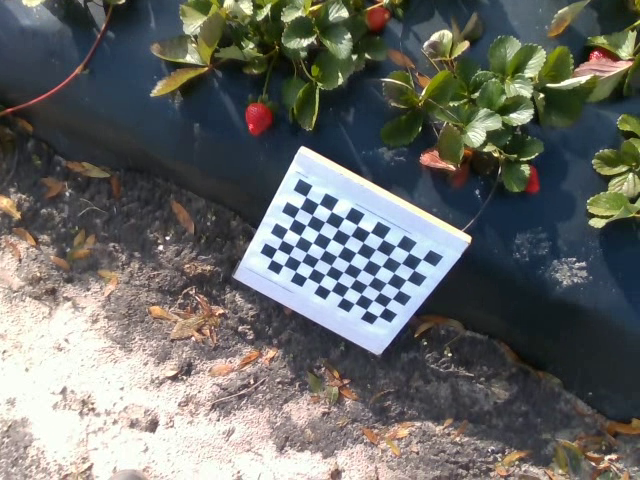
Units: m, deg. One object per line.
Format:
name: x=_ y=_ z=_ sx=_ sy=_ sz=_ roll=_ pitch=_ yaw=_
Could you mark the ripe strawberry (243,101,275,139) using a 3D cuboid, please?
ripe strawberry: x=-0.076 y=-0.149 z=0.667 sx=0.041 sy=0.047 sz=0.041 roll=8 pitch=-26 yaw=21
